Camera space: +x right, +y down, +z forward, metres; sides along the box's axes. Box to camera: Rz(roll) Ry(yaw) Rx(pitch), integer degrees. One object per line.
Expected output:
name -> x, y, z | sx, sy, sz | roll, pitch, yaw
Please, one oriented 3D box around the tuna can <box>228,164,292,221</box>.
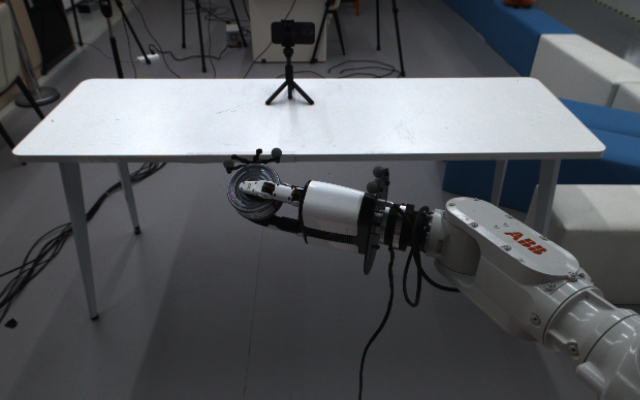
tuna can -> -0.096, -0.008, 0.748 | 0.085, 0.034, 0.085 | -4, 68, 9
